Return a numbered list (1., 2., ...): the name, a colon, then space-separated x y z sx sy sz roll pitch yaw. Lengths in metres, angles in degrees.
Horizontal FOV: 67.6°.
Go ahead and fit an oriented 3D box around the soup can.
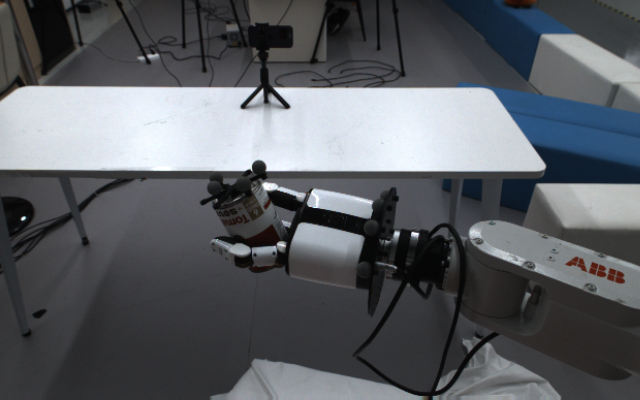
1. soup can: -0.081 0.032 0.612 0.067 0.101 0.067 -21 24 10
